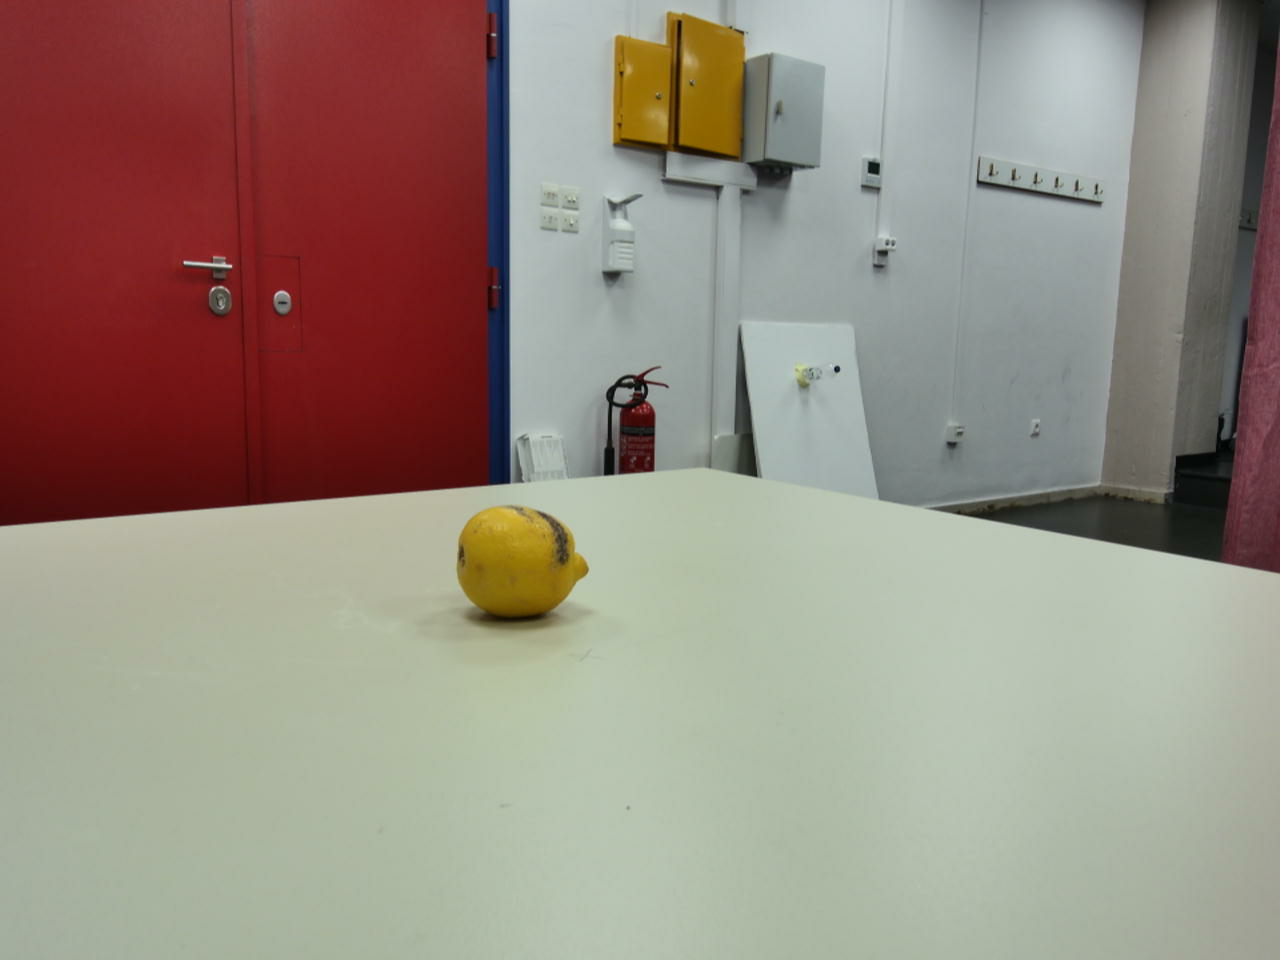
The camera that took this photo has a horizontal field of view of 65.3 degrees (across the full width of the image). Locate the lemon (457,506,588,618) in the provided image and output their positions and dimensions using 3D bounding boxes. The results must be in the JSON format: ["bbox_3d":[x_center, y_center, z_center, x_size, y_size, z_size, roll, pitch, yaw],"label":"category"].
[{"bbox_3d":[-0.063,0.041,0.506,0.061,0.056,0.058,-6,9,-44],"label":"lemon"}]
